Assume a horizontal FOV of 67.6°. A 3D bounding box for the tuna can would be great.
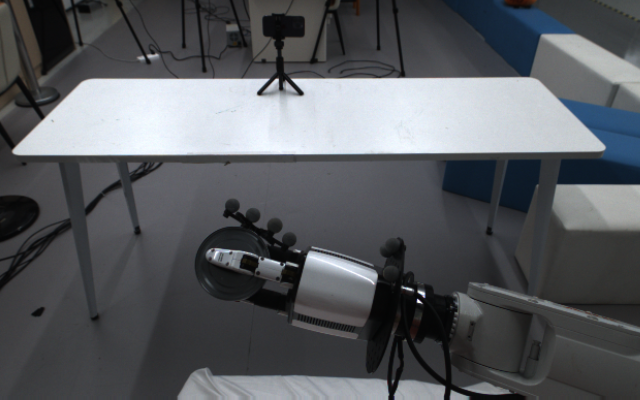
[{"bbox_3d":[-0.099,0.075,0.566,0.085,0.034,0.085,1,75,-4],"label":"tuna can"}]
